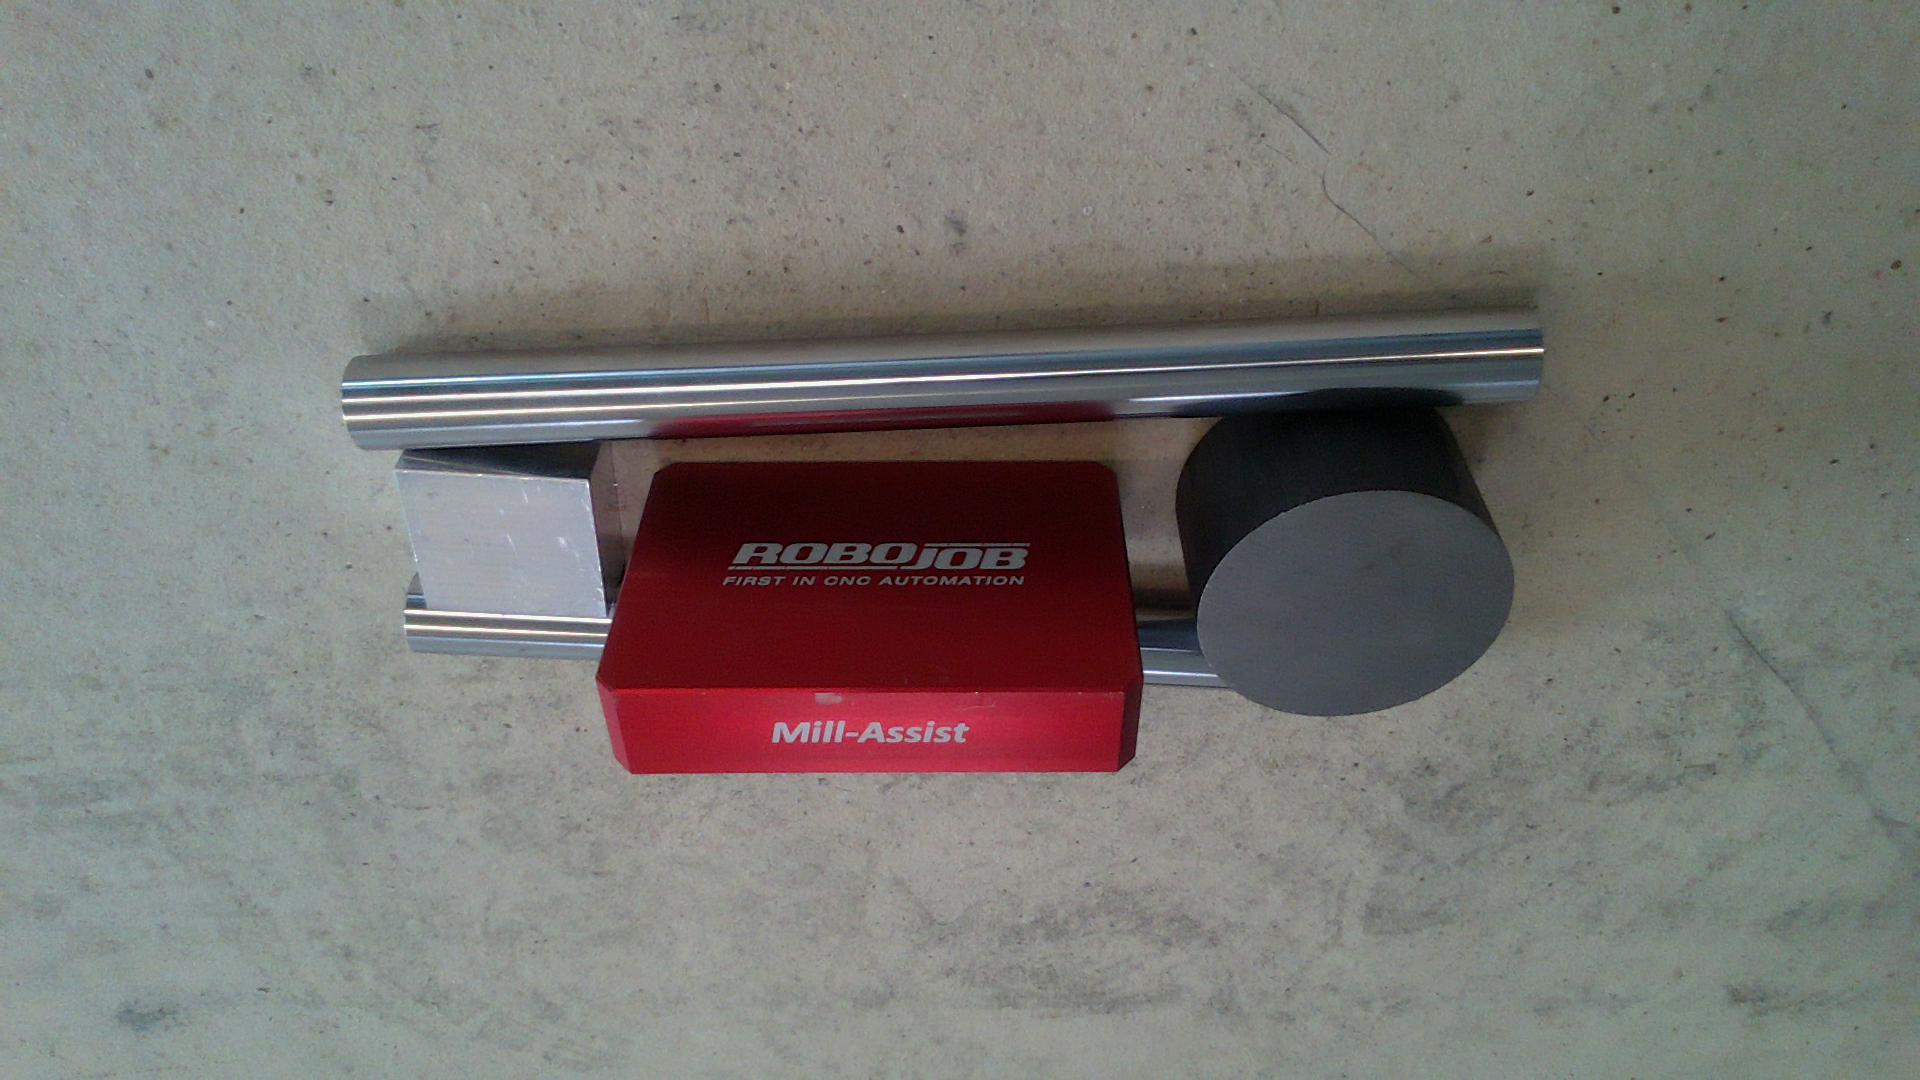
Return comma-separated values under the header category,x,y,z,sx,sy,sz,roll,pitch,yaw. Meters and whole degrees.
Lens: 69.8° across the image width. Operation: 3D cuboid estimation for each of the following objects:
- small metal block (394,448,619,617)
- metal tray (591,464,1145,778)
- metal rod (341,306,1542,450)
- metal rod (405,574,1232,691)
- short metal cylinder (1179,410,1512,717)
category,x,y,z,sx,sy,sz,roll,pitch,yaw
small metal block,-0.124,-0.006,0.385,0.050,0.025,0.050,3,130,-3
metal tray,-0.021,0.018,0.362,0.130,0.090,0.030,0,130,0
metal rod,-0.006,-0.042,0.356,0.300,0.025,0.025,-2,130,1
metal rod,-0.010,0.029,0.415,0.300,0.025,0.025,3,130,-3
short metal cylinder,0.102,0.003,0.377,0.080,0.050,0.080,0,130,0
